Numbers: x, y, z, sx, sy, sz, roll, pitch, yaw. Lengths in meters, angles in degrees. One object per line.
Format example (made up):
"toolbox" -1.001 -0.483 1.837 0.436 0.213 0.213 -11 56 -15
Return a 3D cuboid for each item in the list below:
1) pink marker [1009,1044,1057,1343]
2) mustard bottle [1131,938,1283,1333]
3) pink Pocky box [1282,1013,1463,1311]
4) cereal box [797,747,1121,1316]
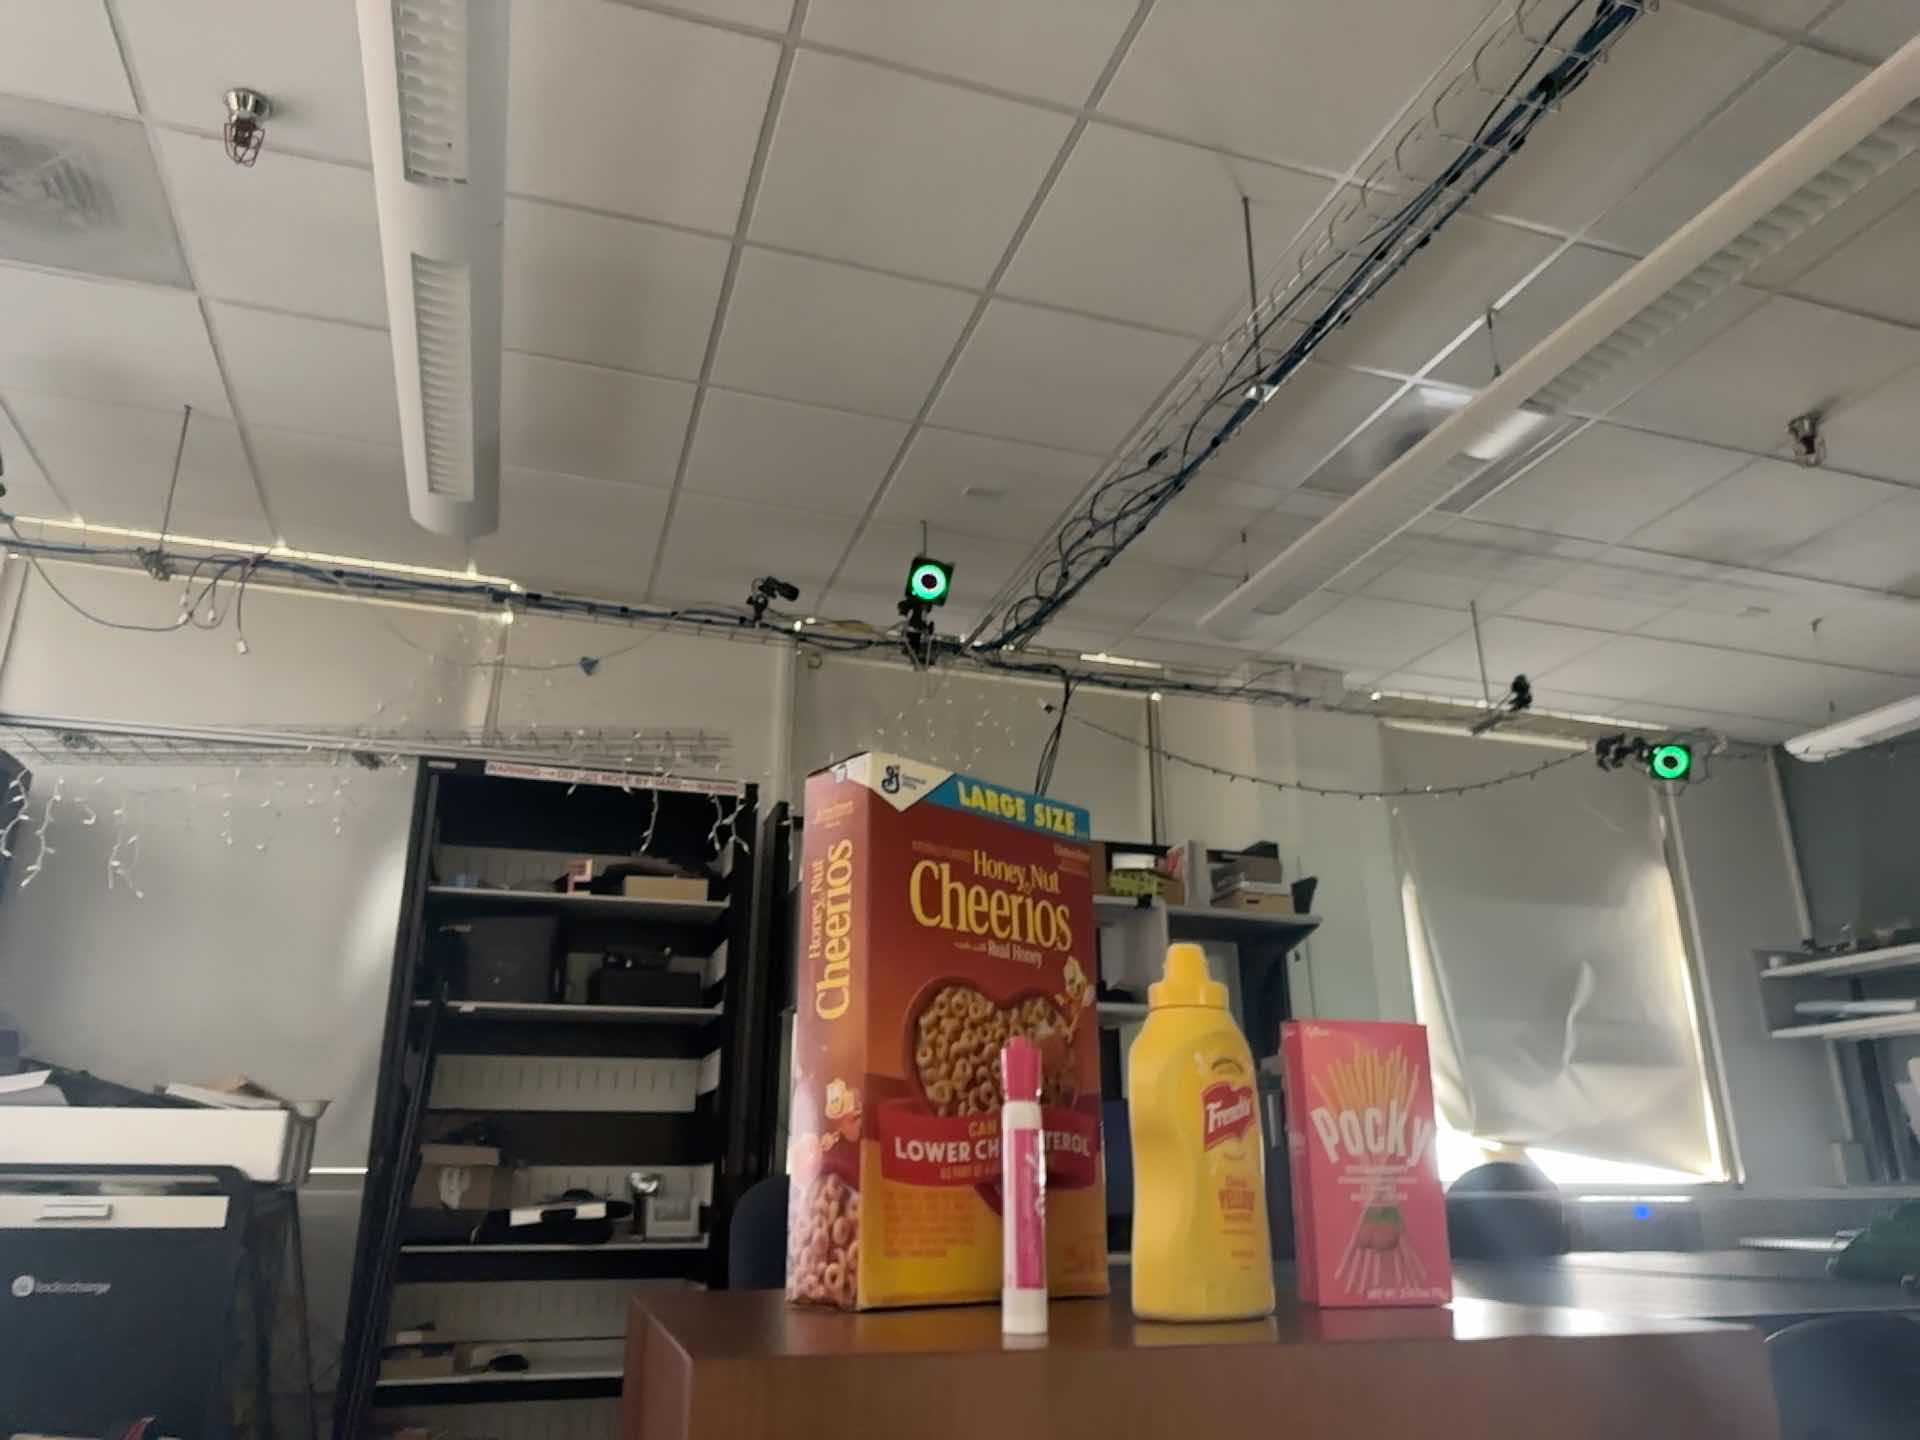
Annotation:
"pink marker" 0.031 0.202 0.586 0.020 0.121 0.020 0 -19 0
"mustard bottle" 0.119 0.201 0.675 0.092 0.184 0.054 14 -22 -40
"pink Pocky box" 0.228 0.242 0.753 0.084 0.154 0.029 5 -18 -18
"cereal box" 0.003 0.184 0.814 0.065 0.296 0.195 -16 -25 41
